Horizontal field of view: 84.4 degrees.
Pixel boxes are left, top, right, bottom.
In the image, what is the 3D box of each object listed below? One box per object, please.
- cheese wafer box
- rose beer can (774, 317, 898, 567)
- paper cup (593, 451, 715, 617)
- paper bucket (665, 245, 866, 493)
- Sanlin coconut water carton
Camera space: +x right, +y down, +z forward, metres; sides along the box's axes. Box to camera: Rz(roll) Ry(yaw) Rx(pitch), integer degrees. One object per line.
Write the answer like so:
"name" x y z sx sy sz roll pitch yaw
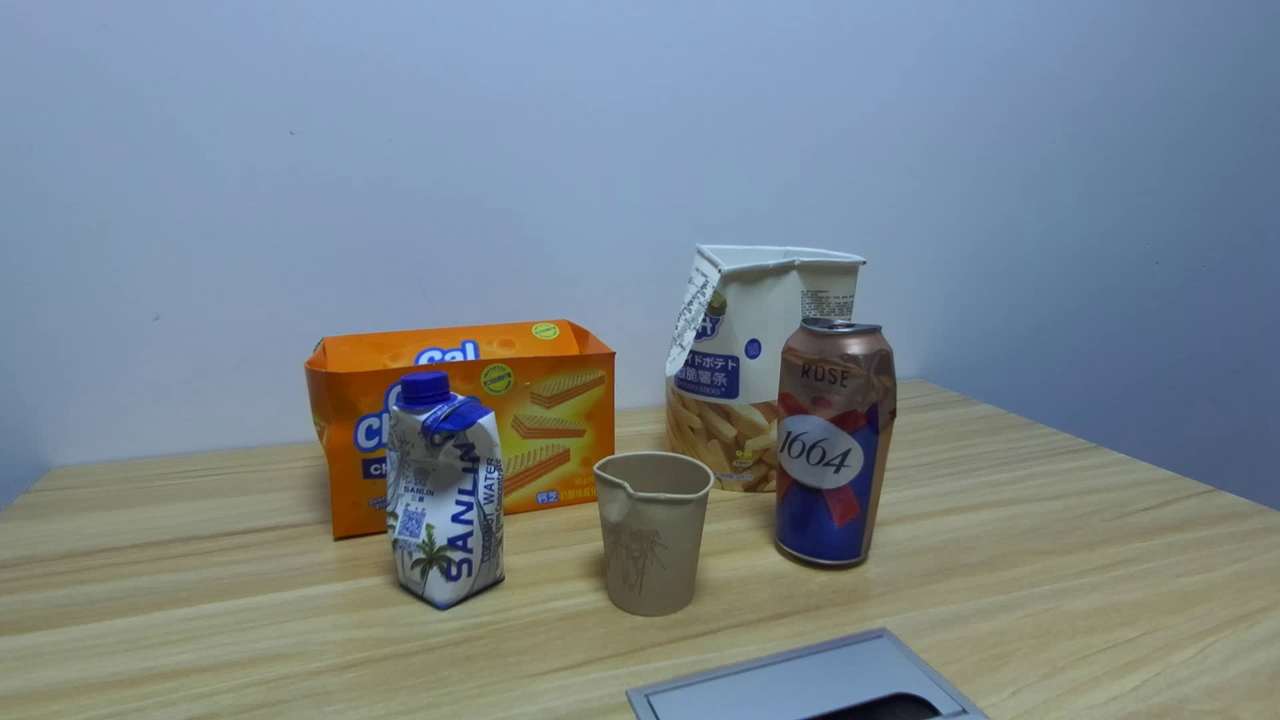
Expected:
"cheese wafer box" -0.148 0.049 0.595 0.231 0.132 0.151 -4 15 -20
"rose beer can" 0.133 0.056 0.486 0.065 0.167 0.075 -6 14 -31
"paper cup" 0.008 0.108 0.442 0.073 0.081 0.069 0 13 -3
"paper bucket" 0.094 -0.001 0.650 0.170 0.202 0.162 -5 13 -29
"Sanlin coconut water carton" -0.122 0.081 0.436 0.068 0.145 0.057 20 29 35
